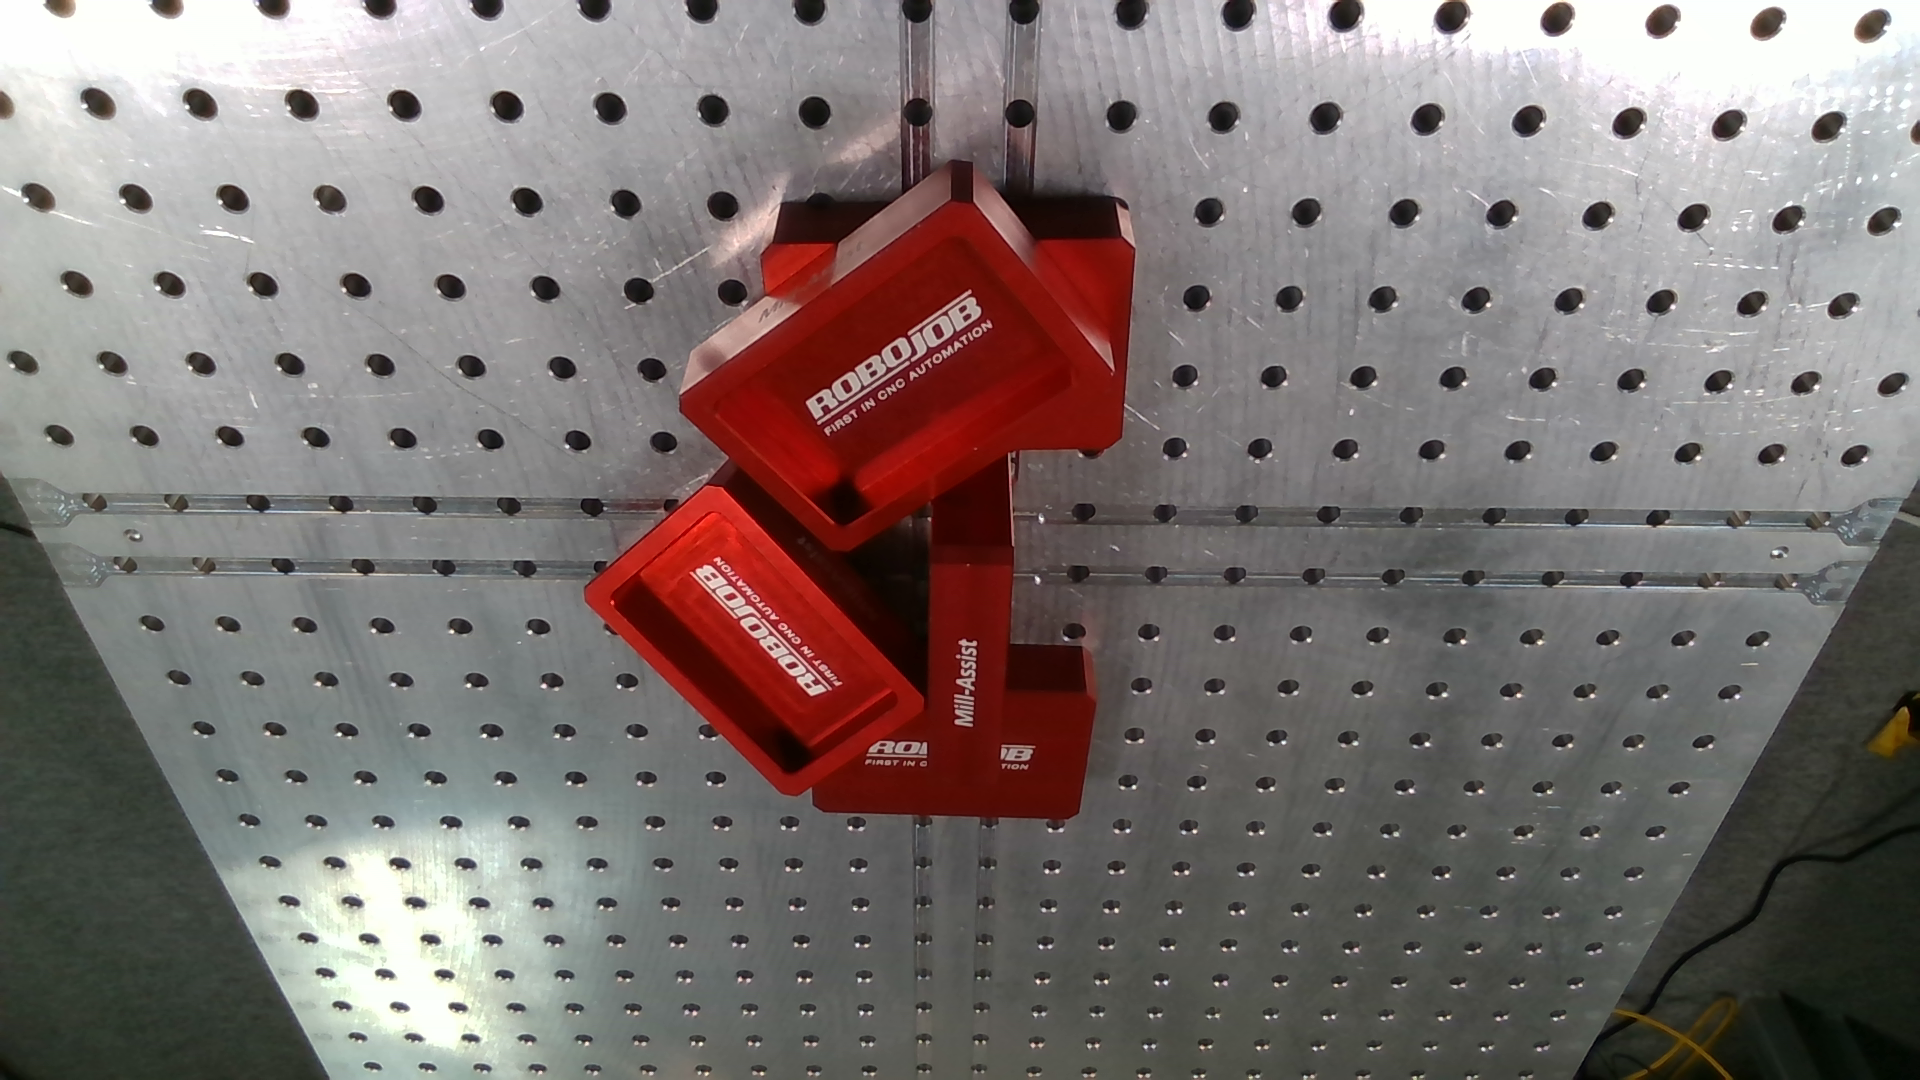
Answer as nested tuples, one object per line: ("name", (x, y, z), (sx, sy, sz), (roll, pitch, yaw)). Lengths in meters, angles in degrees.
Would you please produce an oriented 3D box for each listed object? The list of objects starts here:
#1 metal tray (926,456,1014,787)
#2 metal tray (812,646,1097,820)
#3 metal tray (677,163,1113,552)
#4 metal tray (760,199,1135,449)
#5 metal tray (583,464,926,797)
("metal tray", (0.003, 0.027, 0.561), (0.030, 0.090, 0.130), (1, 130, -1))
("metal tray", (-0.005, 0.092, 0.655), (0.130, 0.030, 0.090), (2, 130, -2))
("metal tray", (-0.023, -0.059, 0.488), (0.130, 0.030, 0.090), (-31, 124, 24))
("metal tray", (-0.003, -0.078, 0.513), (0.130, 0.030, 0.090), (-1, 130, 1))
("metal tray", (-0.084, 0.039, 0.588), (0.090, 0.030, 0.130), (-36, 104, 27))
